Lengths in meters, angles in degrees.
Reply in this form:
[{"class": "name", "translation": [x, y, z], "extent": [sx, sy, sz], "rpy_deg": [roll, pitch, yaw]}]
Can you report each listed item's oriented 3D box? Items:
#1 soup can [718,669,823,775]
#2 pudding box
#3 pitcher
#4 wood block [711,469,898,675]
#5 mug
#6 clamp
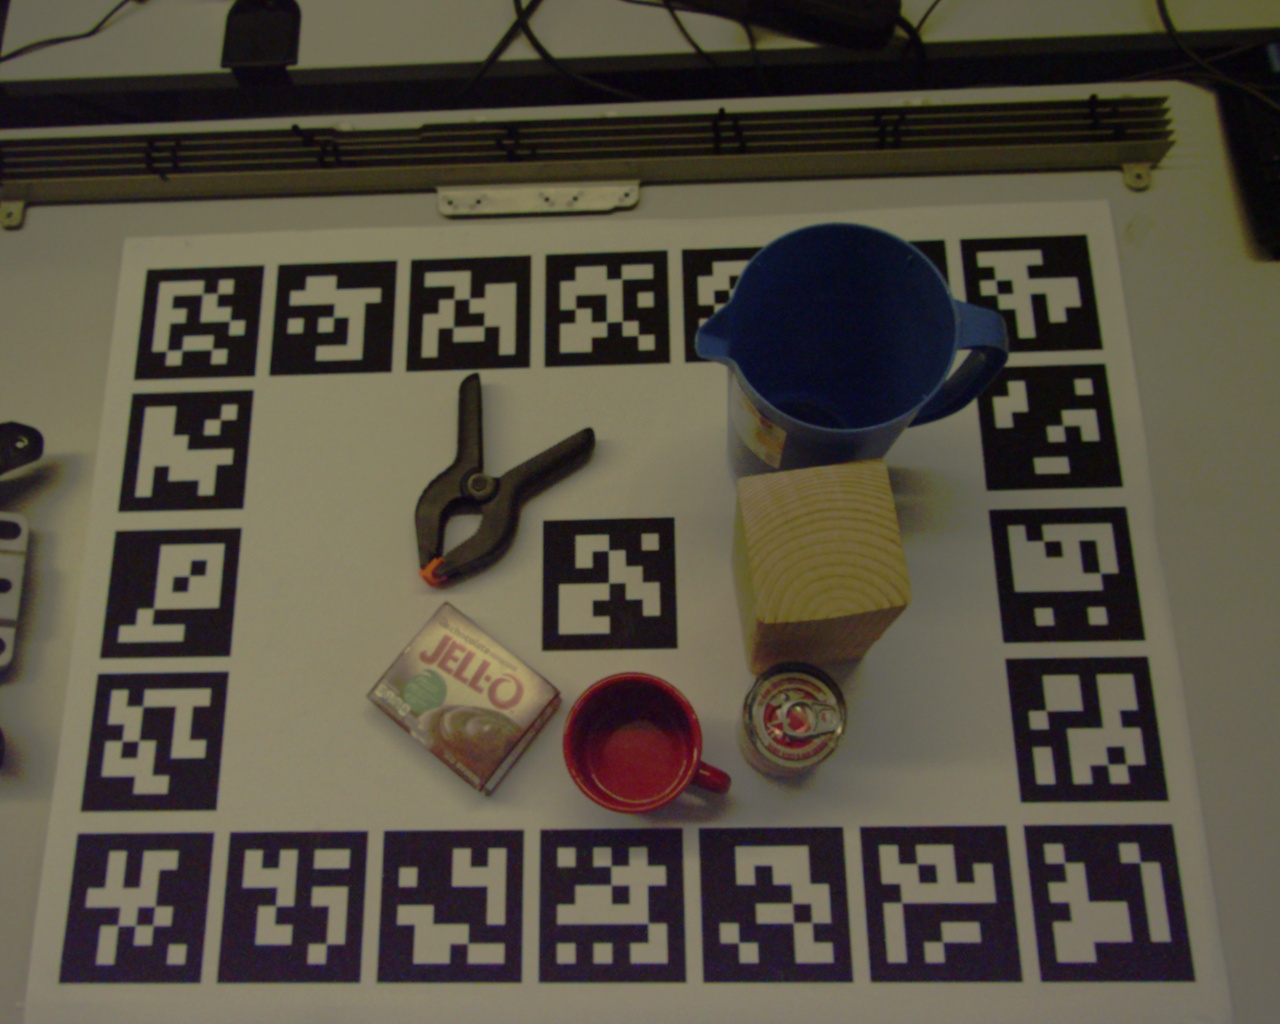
[{"class": "soup can", "translation": [0.089, 0.150, 0.802], "extent": [0.068, 0.101, 0.068], "rpy_deg": [-1, 76, 3]}, {"class": "pudding box", "translation": [-0.144, 0.136, 0.860], "extent": [0.114, 0.038, 0.090], "rpy_deg": [36, 82, 14]}, {"class": "pitcher", "translation": [0.128, -0.073, 0.797], "extent": [0.189, 0.241, 0.133], "rpy_deg": [-2, 71, 6]}, {"class": "wood block", "translation": [0.104, 0.049, 0.777], "extent": [0.090, 0.206, 0.091], "rpy_deg": [-3, 73, -2]}, {"class": "mug", "translation": [-0.004, 0.173, 0.813], "extent": [0.118, 0.081, 0.093], "rpy_deg": [34, 76, 14]}, {"class": "clamp", "translation": [-0.122, -0.017, 0.911], "extent": [0.122, 0.036, 0.165], "rpy_deg": [29, 77, 4]}]
